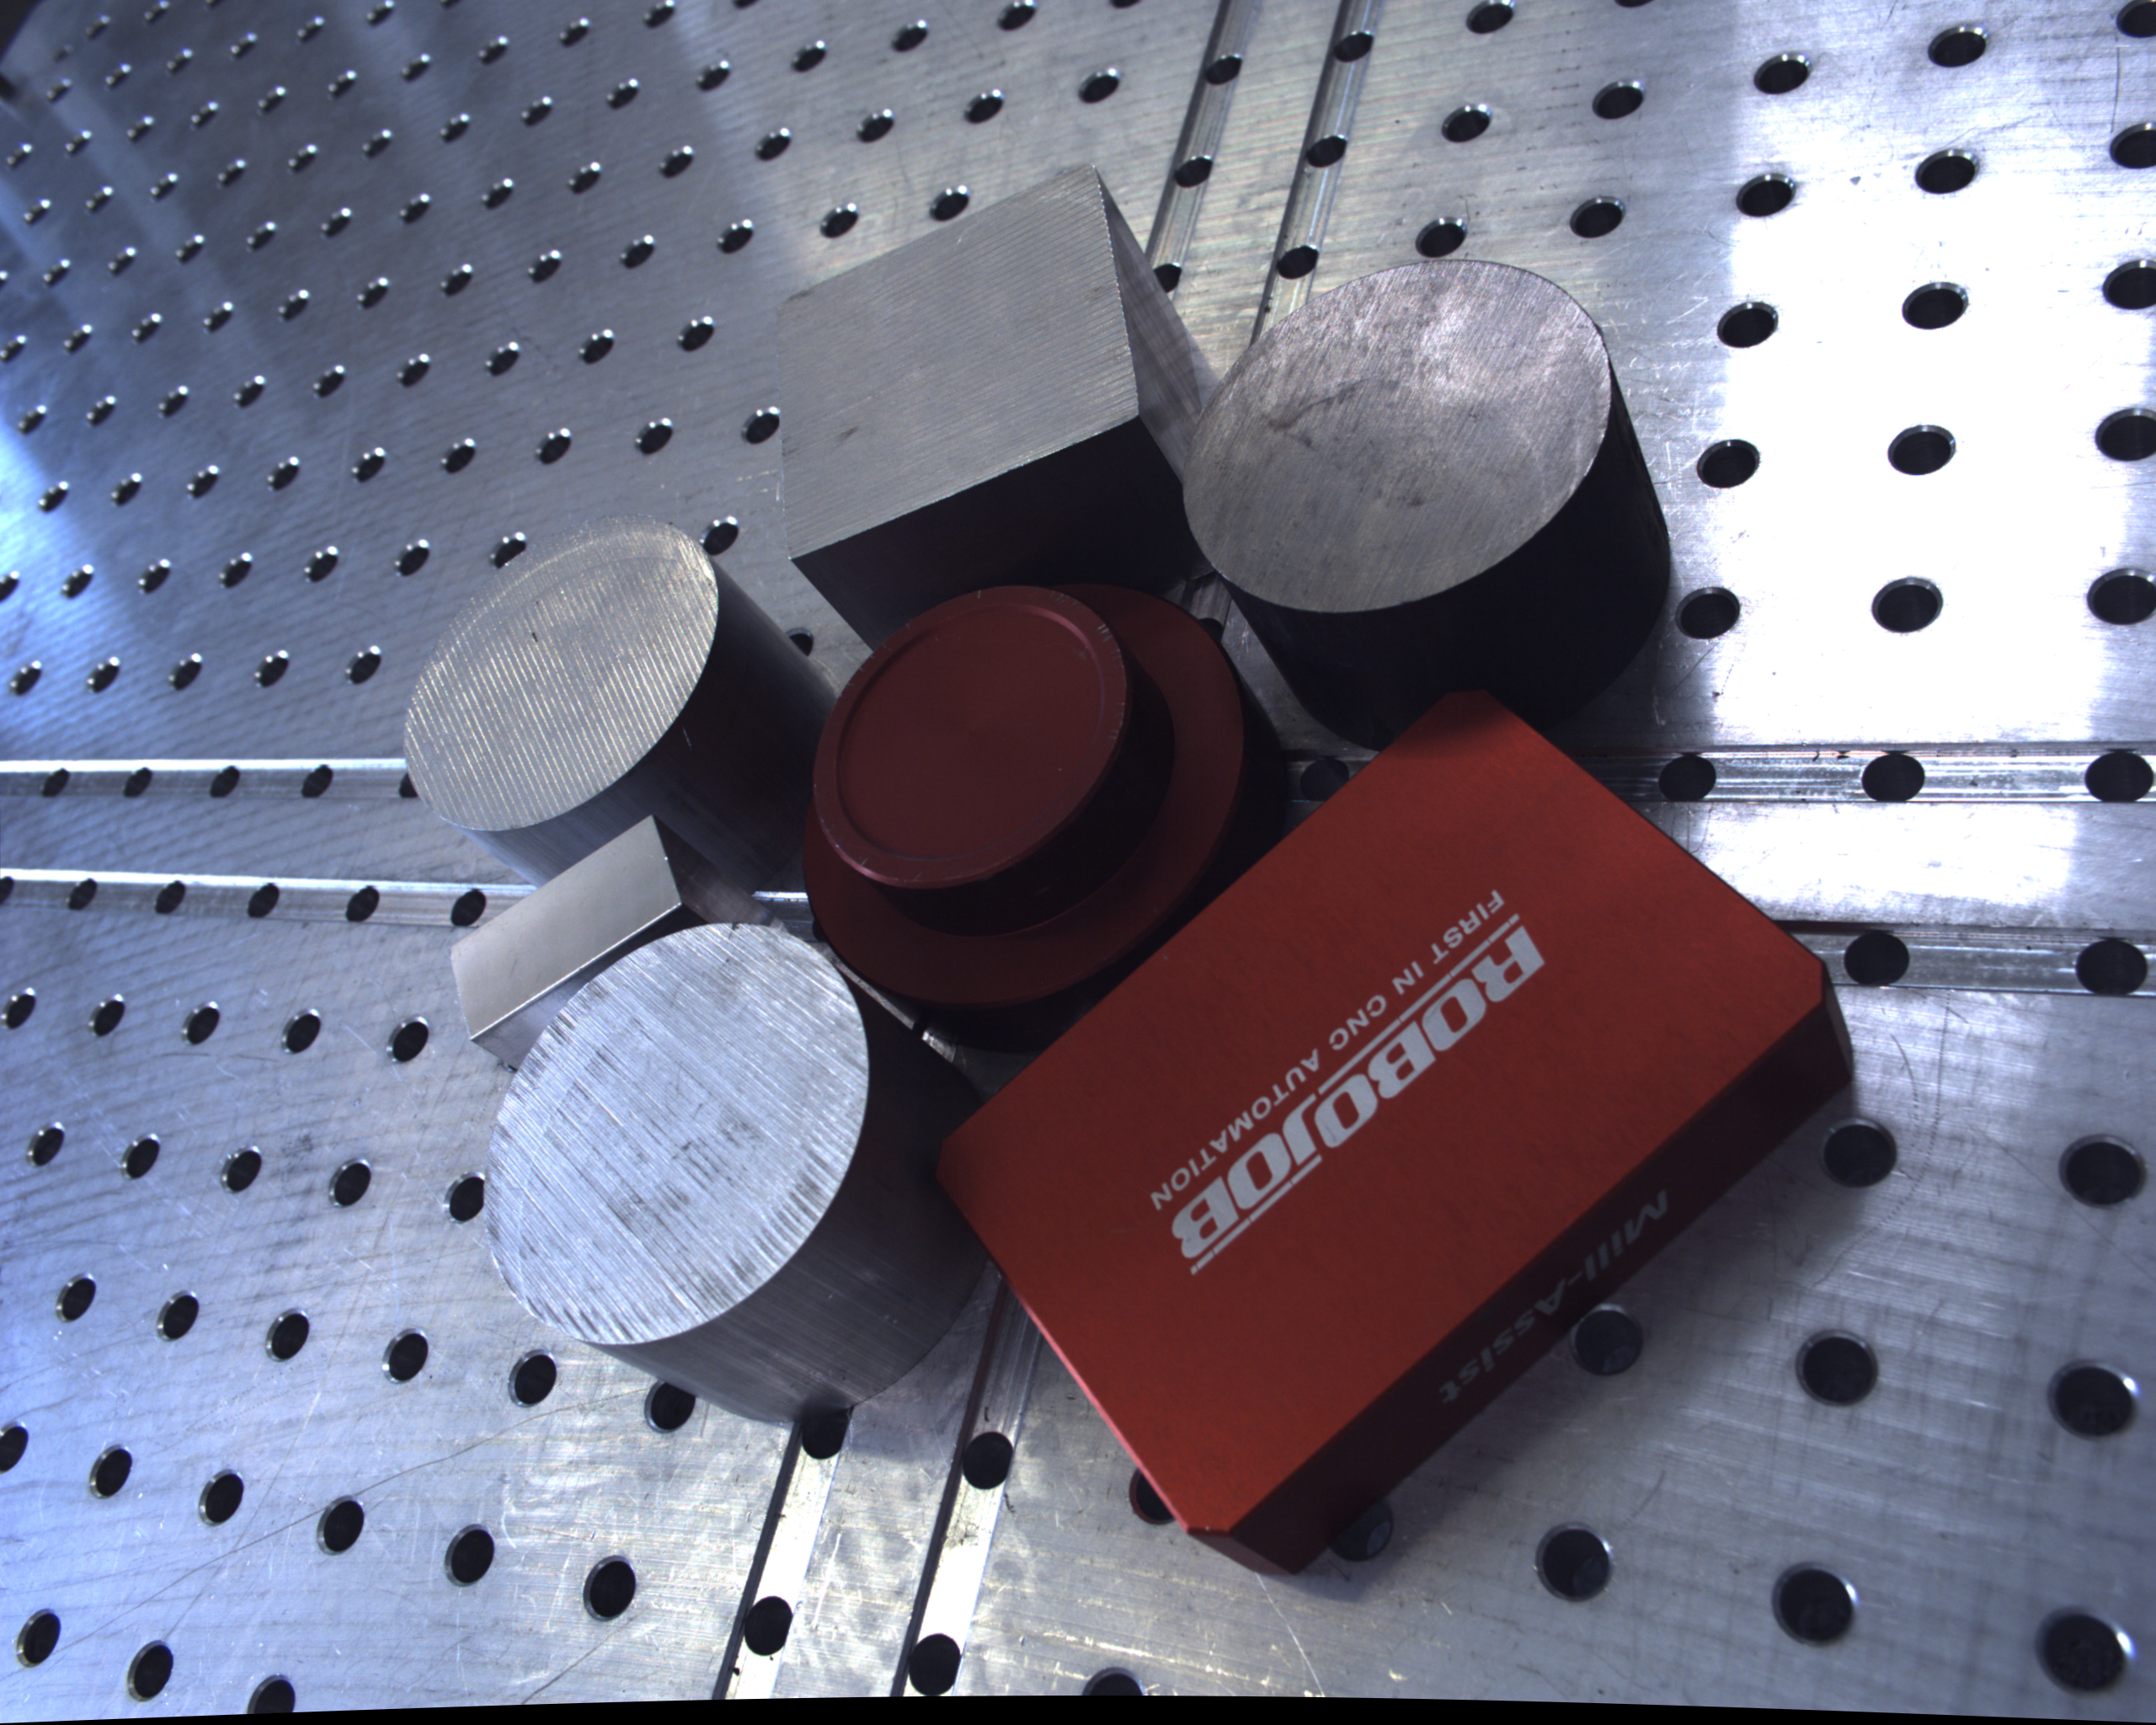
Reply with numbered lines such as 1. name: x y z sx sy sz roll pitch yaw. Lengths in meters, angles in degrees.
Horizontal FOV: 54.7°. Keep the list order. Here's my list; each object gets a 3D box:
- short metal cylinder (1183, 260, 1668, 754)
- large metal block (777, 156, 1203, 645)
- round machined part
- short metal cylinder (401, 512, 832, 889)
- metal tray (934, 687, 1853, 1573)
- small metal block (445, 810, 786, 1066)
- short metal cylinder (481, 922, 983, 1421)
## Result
1. short metal cylinder: 0.067 -0.067 0.397 0.080 0.050 0.080 -13 56 21
2. large metal block: -0.017 -0.096 0.461 0.080 0.050 0.080 -19 54 17
3. round machined part: -0.013 -0.016 0.413 0.098 0.042 0.098 -13 56 21
4. short metal cylinder: -0.101 -0.030 0.463 0.080 0.050 0.080 -13 56 21
5. metal tray: 0.050 0.041 0.352 0.130 0.030 0.090 -42 51 -1
6. small metal block: -0.090 0.023 0.424 0.050 0.050 0.025 -33 52 7
7. short metal cylinder: -0.062 0.058 0.389 0.080 0.050 0.080 -13 56 21
